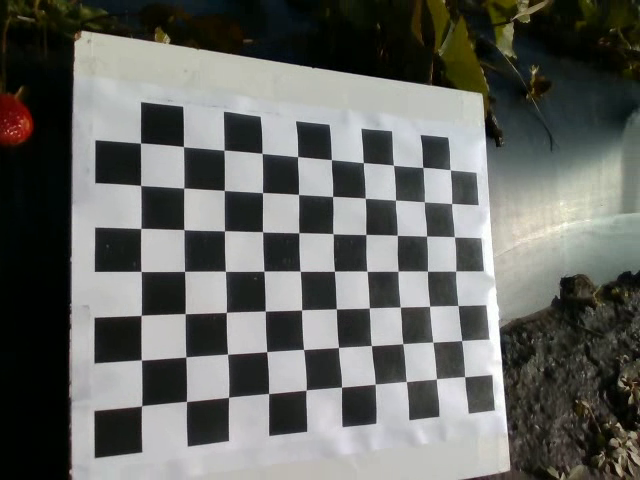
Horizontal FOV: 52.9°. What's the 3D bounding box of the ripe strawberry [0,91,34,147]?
[{"bbox_3d":[-0.144,-0.052,0.291,0.035,0.033,0.037,0,30,-26],"label":"ripe strawberry"}]
